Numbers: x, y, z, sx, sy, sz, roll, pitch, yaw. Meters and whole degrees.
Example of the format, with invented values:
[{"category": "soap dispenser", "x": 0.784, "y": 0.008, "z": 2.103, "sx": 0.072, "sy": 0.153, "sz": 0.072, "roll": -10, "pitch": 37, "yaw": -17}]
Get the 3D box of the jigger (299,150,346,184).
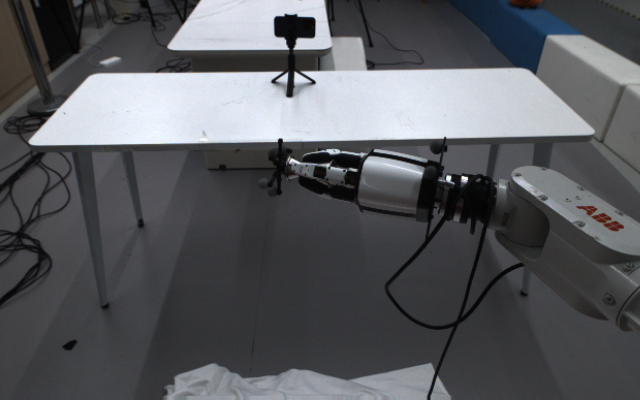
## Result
[{"category": "jigger", "x": -0.008, "y": -0.048, "z": 0.727, "sx": 0.071, "sy": 0.043, "sz": 0.043, "roll": 8, "pitch": 35, "yaw": 16}]
